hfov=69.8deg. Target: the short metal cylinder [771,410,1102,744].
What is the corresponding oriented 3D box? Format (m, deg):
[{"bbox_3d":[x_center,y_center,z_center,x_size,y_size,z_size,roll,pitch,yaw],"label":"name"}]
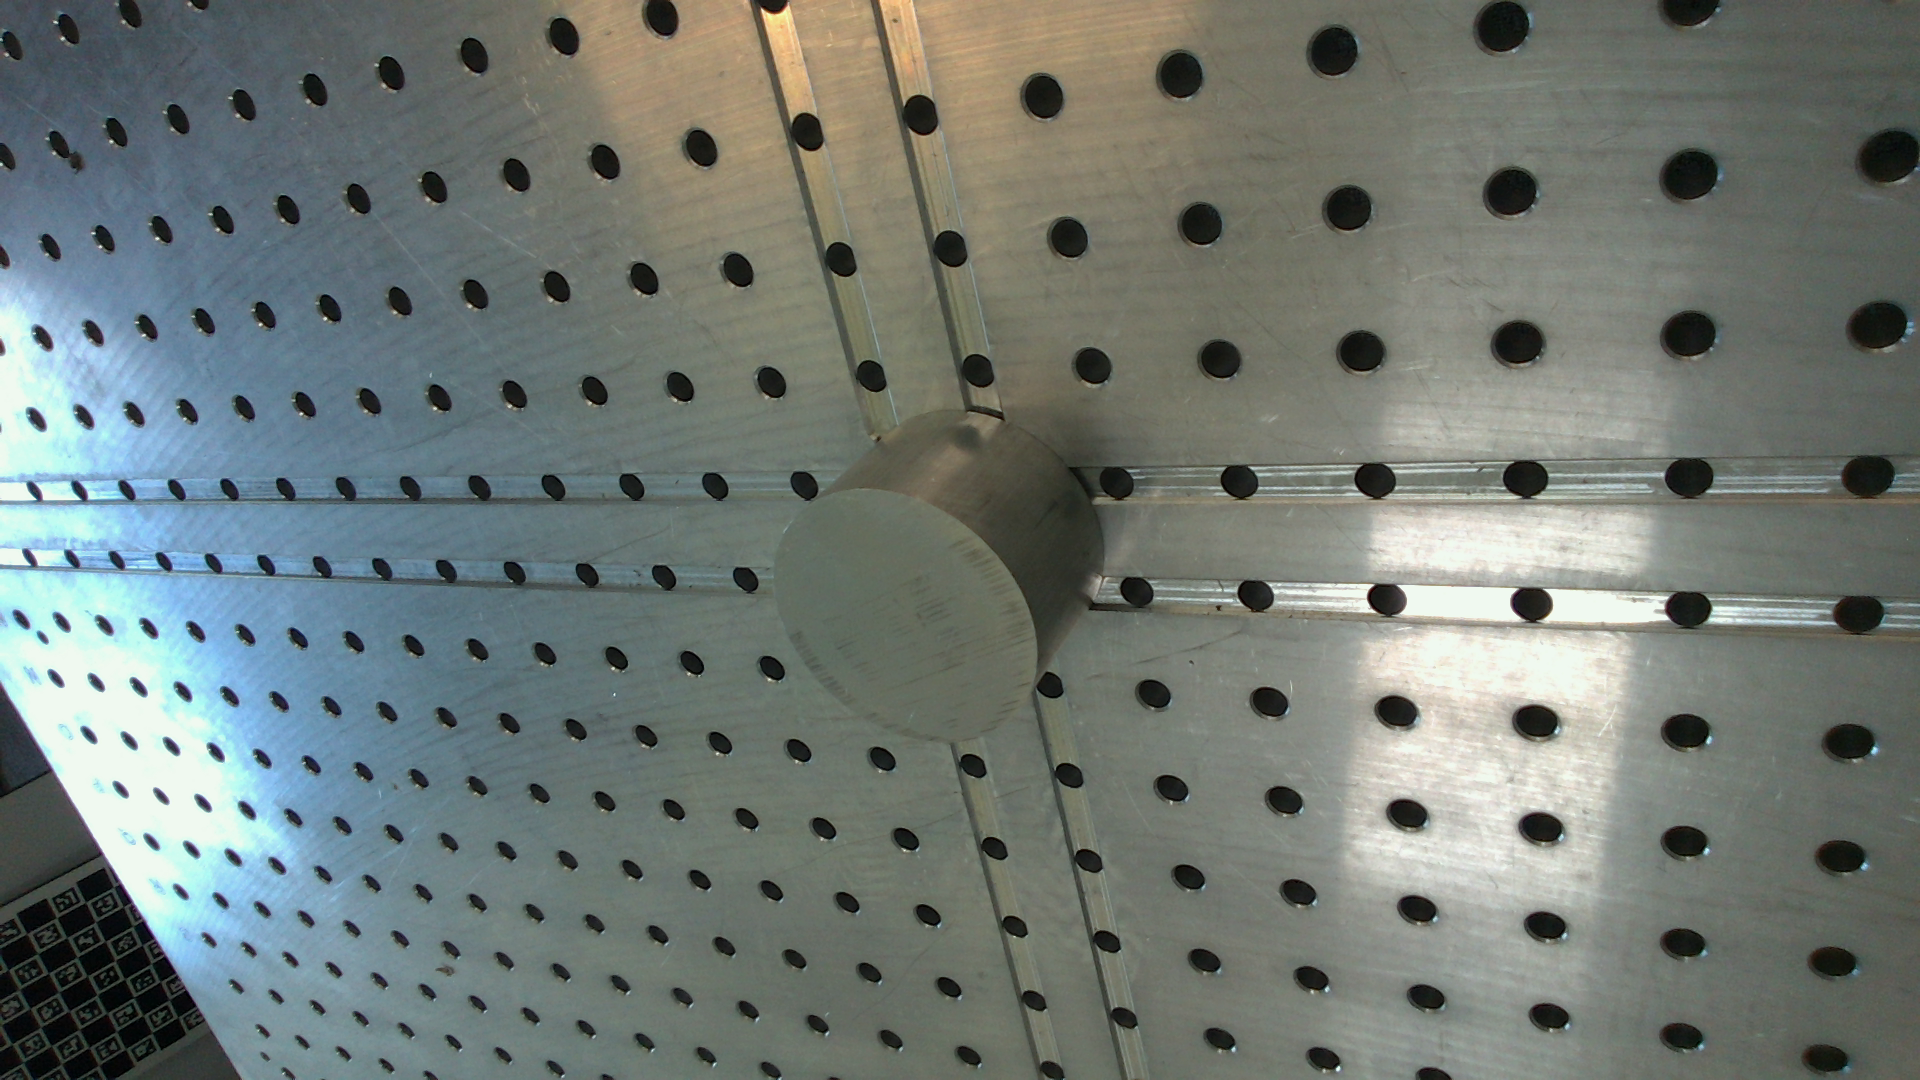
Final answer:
[{"bbox_3d":[-0.006,0.010,0.389,0.080,0.050,0.080,13,124,21],"label":"short metal cylinder"}]
